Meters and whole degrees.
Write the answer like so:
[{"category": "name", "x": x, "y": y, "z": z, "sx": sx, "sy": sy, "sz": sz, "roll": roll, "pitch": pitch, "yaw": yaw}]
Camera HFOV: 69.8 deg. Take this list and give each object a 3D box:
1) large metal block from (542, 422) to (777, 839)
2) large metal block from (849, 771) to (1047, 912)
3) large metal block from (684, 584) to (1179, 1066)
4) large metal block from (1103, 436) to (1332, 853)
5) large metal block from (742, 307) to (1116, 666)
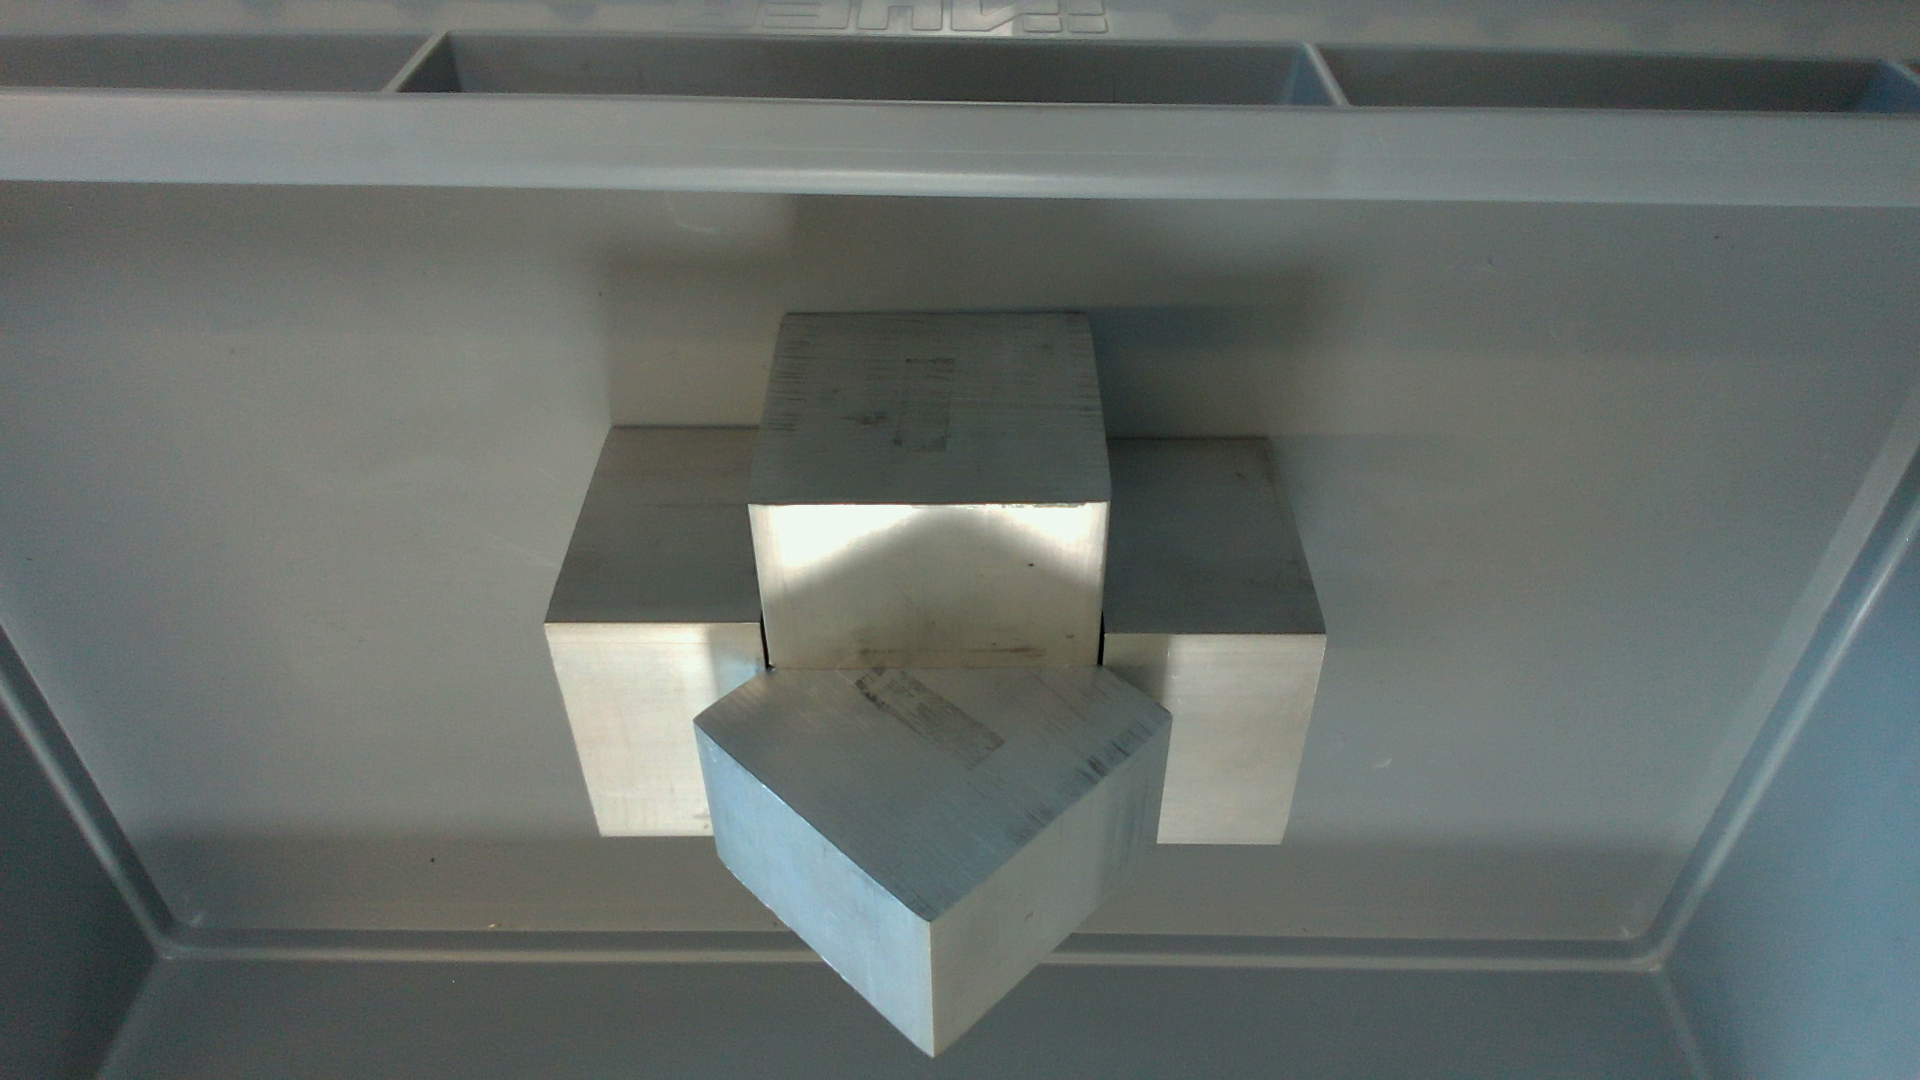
[{"category": "large metal block", "x": -0.071, "y": 0.024, "z": 0.374, "sx": 0.050, "sy": 0.080, "sz": 0.080, "roll": 0, "pitch": 130, "yaw": 0}, {"category": "large metal block", "x": -0.006, "y": 0.062, "z": 0.406, "sx": 0.080, "sy": 0.080, "sz": 0.050, "roll": 0, "pitch": 130, "yaw": 0}, {"category": "large metal block", "x": -0.006, "y": 0.060, "z": 0.330, "sx": 0.080, "sy": 0.080, "sz": 0.050, "roll": -33, "pitch": 140, "yaw": -33}, {"category": "large metal block", "x": 0.061, "y": 0.028, "z": 0.375, "sx": 0.050, "sy": 0.080, "sz": 0.080, "roll": 0, "pitch": 130, "yaw": 0}, {"category": "large metal block", "x": -0.006, "y": -0.015, "z": 0.341, "sx": 0.080, "sy": 0.080, "sz": 0.050, "roll": 0, "pitch": 130, "yaw": 0}]
